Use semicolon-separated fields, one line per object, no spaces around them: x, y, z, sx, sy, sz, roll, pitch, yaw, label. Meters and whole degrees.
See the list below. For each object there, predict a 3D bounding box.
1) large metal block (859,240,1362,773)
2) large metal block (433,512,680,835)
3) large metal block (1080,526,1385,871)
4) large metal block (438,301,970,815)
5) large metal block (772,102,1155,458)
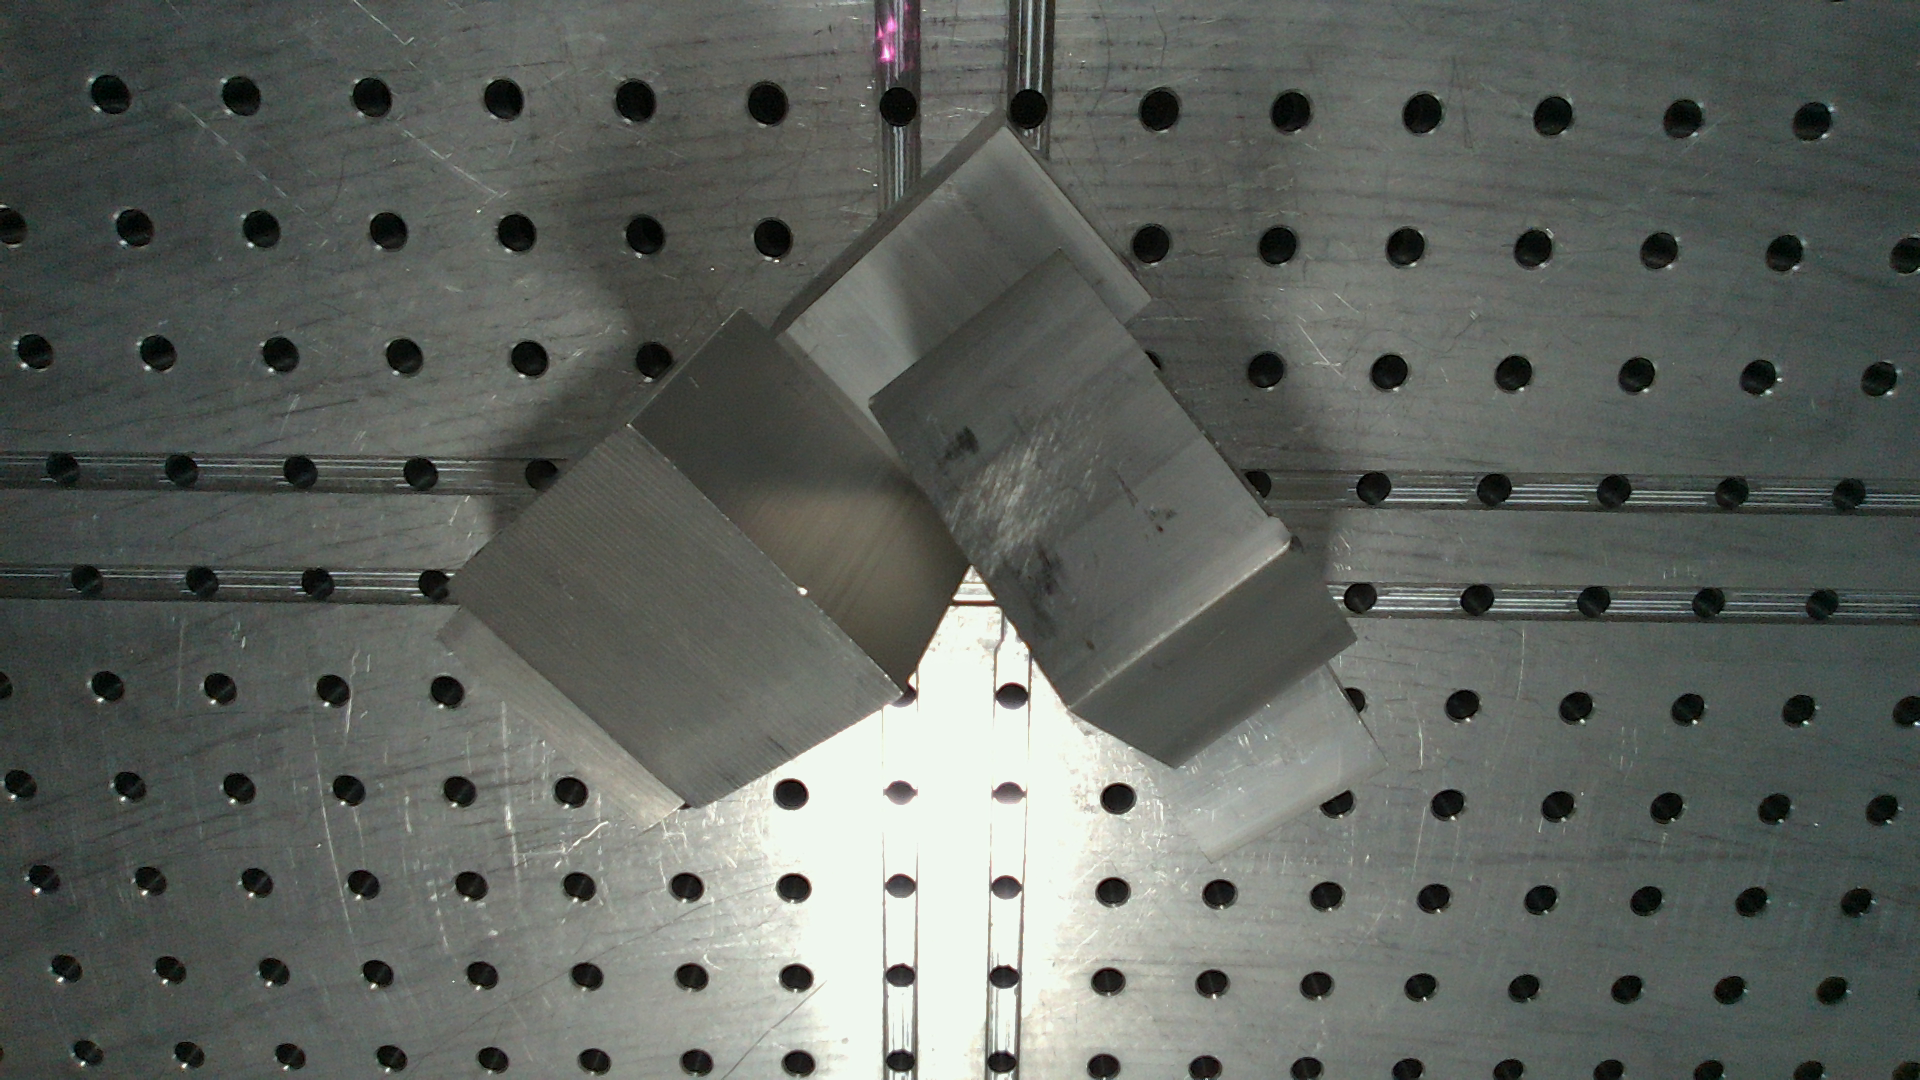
0.034;-0.003;0.291;0.050;0.080;0.080;-38;63;8;large metal block
-0.083;0.021;0.390;0.080;0.050;0.080;-38;106;13;large metal block
0.064;0.027;0.376;0.050;0.080;0.080;-32;107;11;large metal block
-0.056;0.007;0.316;0.080;0.050;0.080;46;129;-15;large metal block
-0.003;-0.060;0.343;0.080;0.080;0.050;-40;105;13;large metal block
